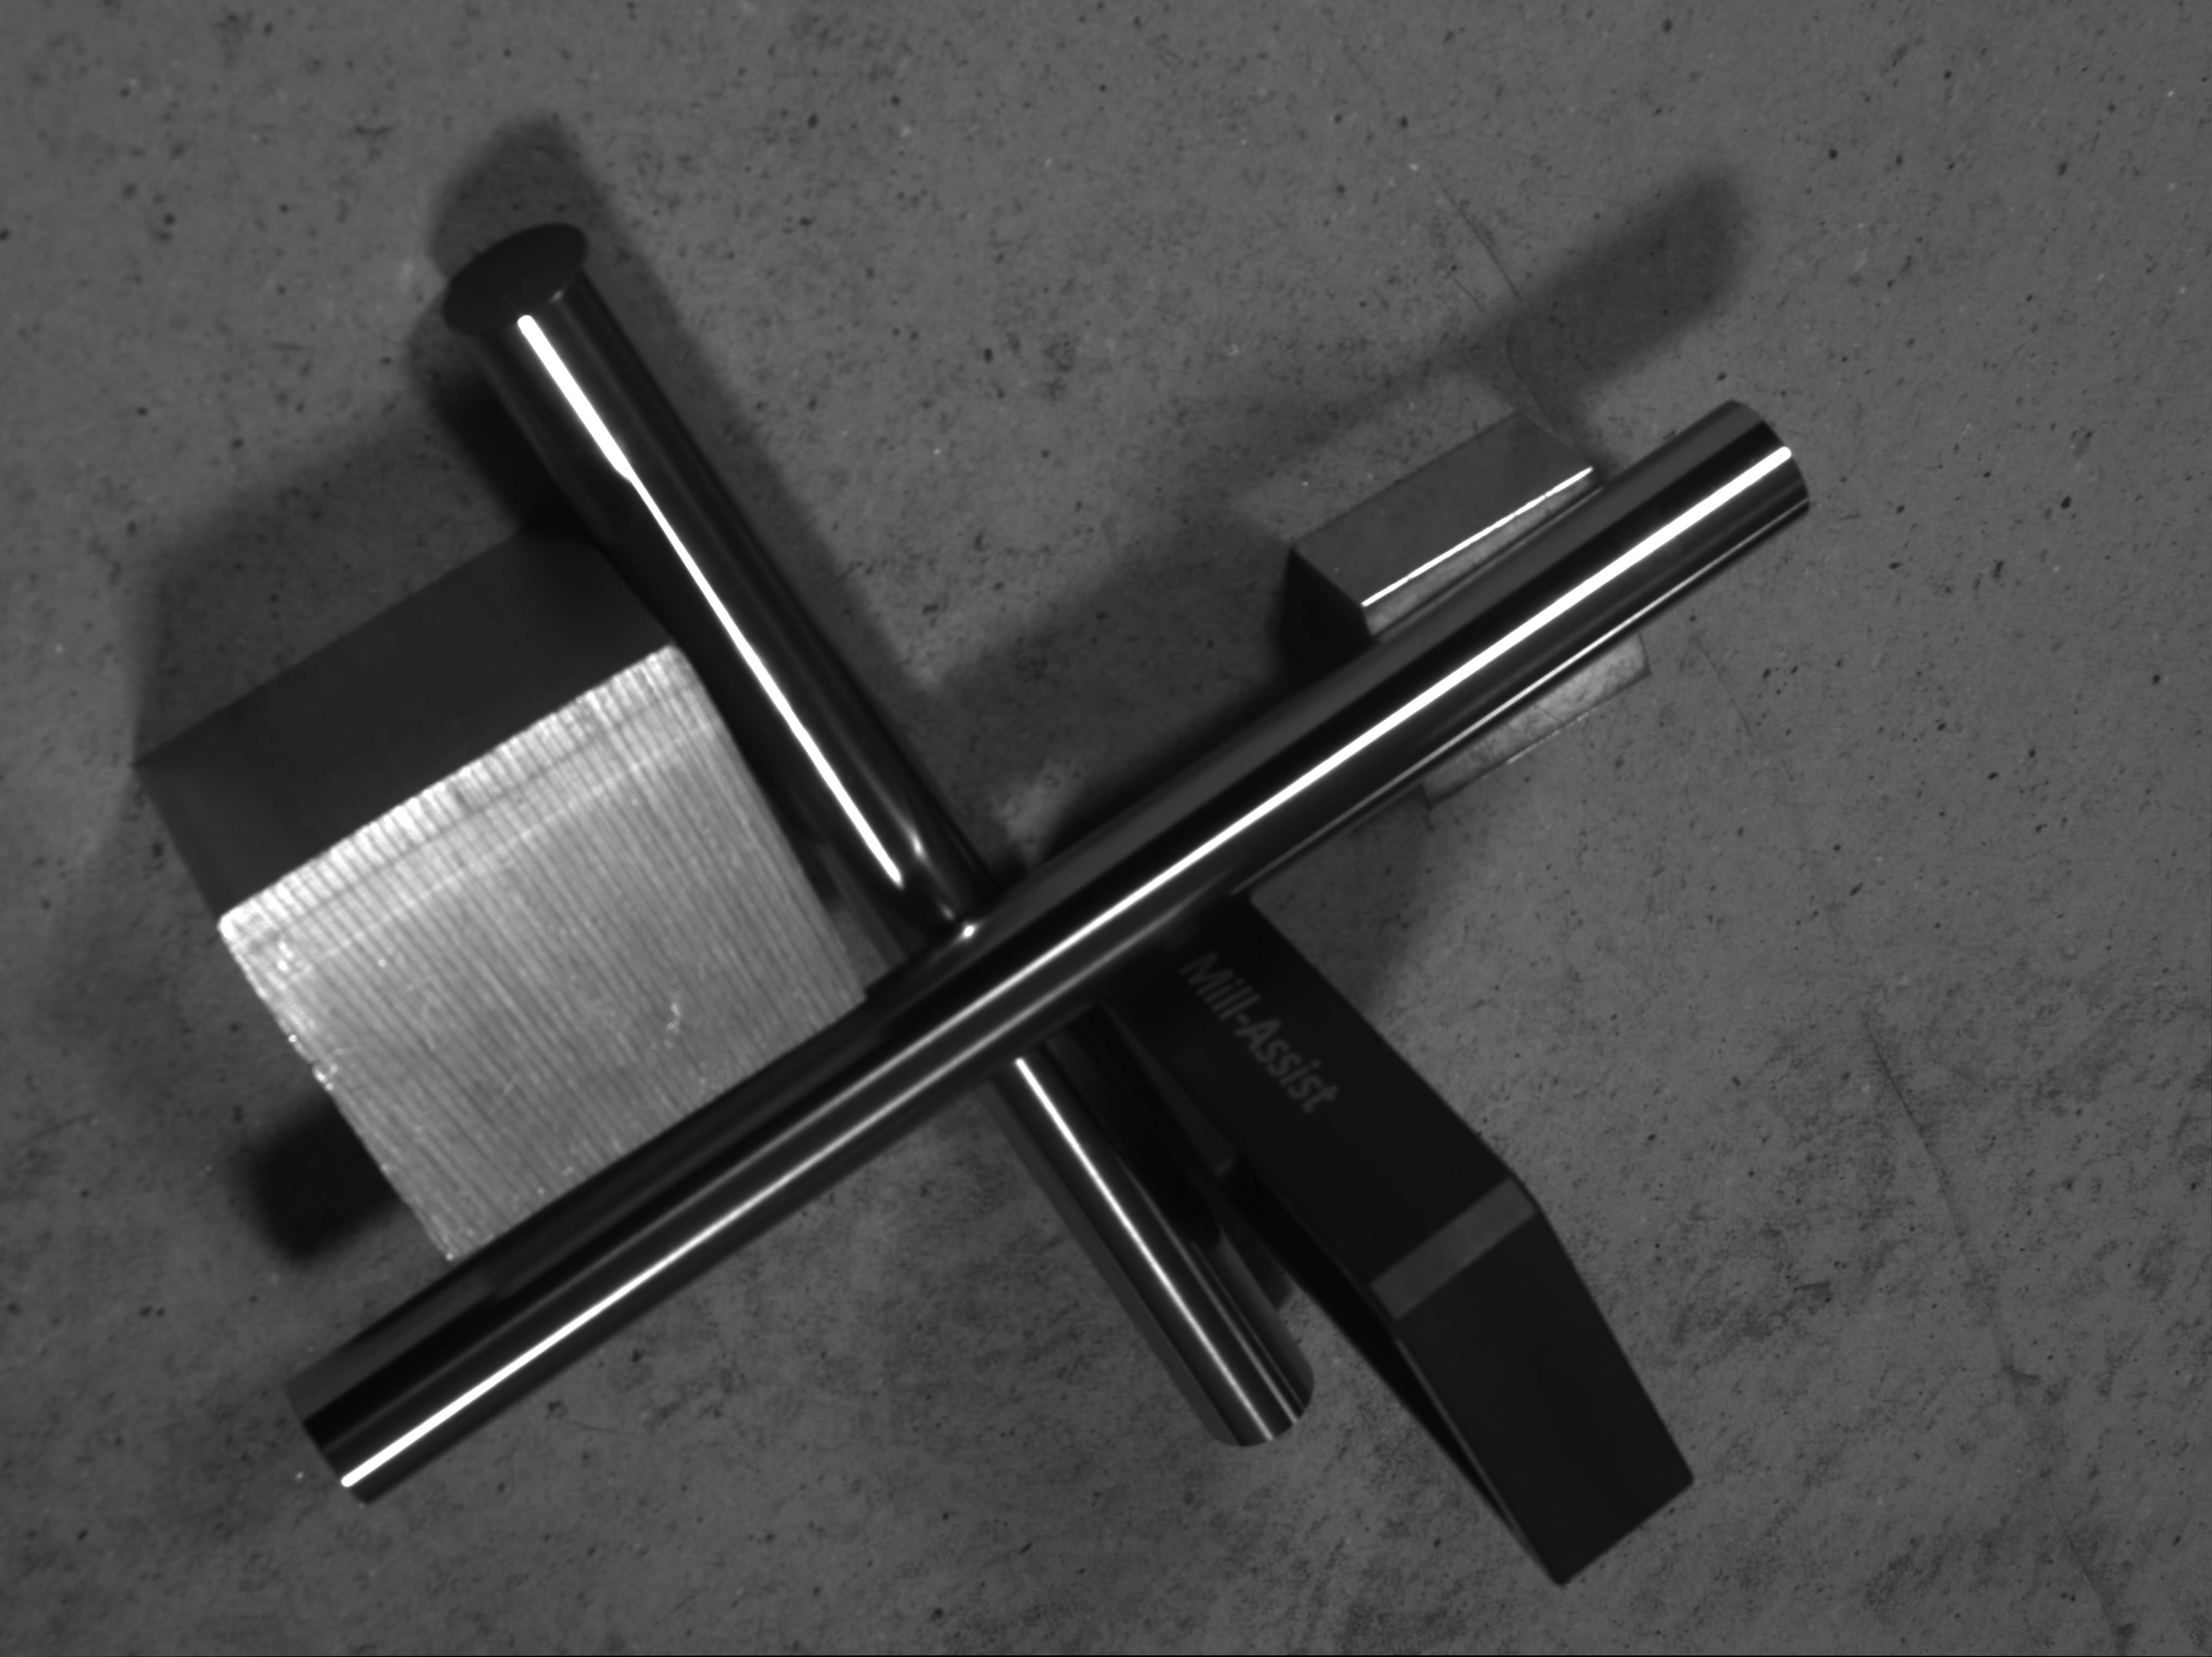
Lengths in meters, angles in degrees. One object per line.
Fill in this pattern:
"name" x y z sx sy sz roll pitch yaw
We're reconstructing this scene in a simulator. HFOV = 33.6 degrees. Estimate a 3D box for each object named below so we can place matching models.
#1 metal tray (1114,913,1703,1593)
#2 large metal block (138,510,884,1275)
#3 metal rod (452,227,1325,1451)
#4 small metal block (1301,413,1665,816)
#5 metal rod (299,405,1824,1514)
"metal tray" 0.046 0.065 0.649 0.030 0.130 0.090 -36 130 -5
"large metal block" -0.094 0.010 0.585 0.080 0.050 0.080 -32 129 -9
"metal rod" -0.027 0.017 0.646 0.025 0.025 0.301 -36 130 -6
"small metal block" 0.069 -0.039 0.667 0.050 0.025 0.050 -31 129 -10
"metal rod" -0.004 0.020 0.628 0.300 0.025 0.025 -34 130 -8
